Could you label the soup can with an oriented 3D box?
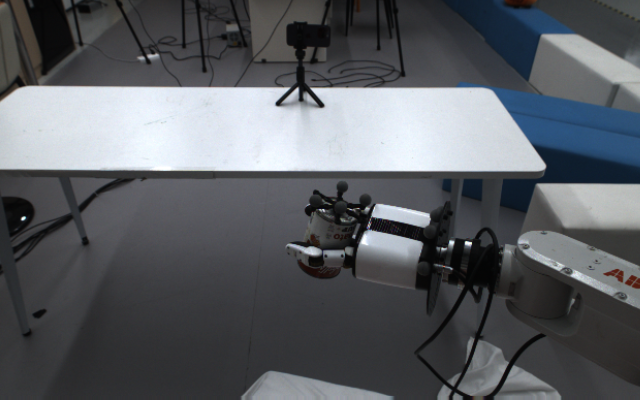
[{"bbox_3d":[0.012,0.054,0.698,0.067,0.101,0.067,13,30,-8],"label":"soup can"}]
